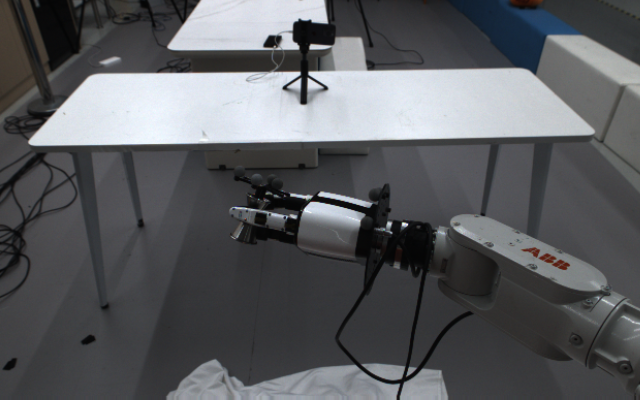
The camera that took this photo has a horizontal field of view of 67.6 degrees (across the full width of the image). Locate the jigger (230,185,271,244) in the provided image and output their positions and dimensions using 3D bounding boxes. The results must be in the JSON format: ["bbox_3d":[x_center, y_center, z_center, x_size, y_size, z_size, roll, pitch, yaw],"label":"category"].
[{"bbox_3d":[-0.103,0.026,0.714,0.043,0.071,0.043,21,6,-2],"label":"jigger"}]
